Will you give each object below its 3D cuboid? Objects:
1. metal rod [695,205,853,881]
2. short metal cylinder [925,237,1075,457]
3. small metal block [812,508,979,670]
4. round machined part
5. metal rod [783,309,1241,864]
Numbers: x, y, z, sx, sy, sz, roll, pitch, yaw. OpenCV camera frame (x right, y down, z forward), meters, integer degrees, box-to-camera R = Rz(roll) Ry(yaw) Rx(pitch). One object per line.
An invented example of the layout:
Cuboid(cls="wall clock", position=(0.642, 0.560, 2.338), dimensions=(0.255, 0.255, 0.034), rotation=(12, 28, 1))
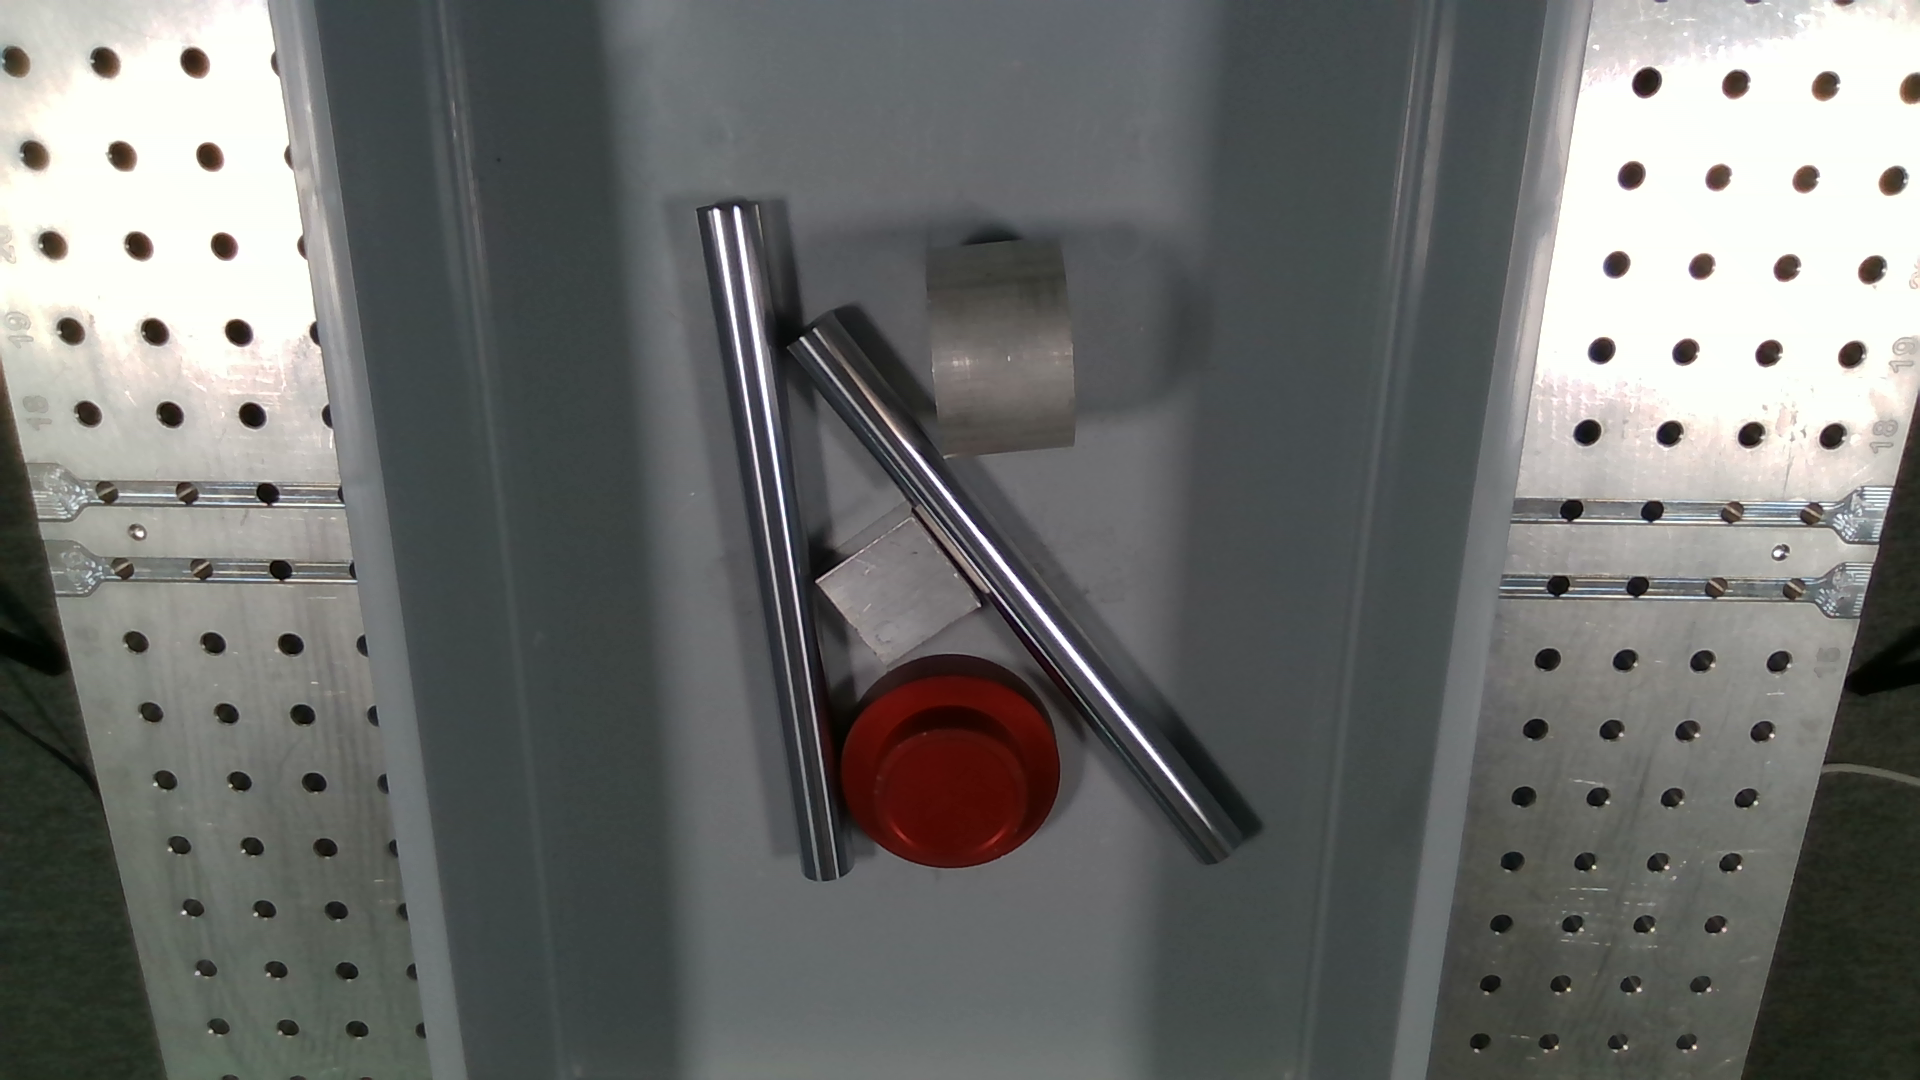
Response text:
Cuboid(cls="metal rod", position=(-0.076, 0.011, 0.587), dimensions=(0.025, 0.025, 0.301), rotation=(-5, 110, 2))
Cuboid(cls="short metal cylinder", position=(0.015, -0.074, 0.528), dimensions=(0.050, 0.080, 0.080), rotation=(-5, 110, 2))
Cuboid(cls="small metal block", position=(-0.027, 0.019, 0.590), dimensions=(0.050, 0.025, 0.050), rotation=(-34, 107, 12))
Cuboid(cls="round machined part", position=(-0.005, 0.104, 0.611), dimensions=(0.098, 0.042, 0.098), rotation=(0, 110, 0))
Cuboid(cls="metal rod", position=(0.029, 0.028, 0.594), dimensions=(0.025, 0.025, 0.300), rotation=(-35, 106, 12))
